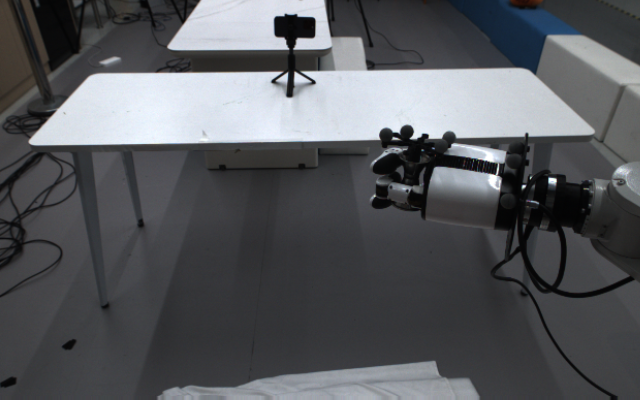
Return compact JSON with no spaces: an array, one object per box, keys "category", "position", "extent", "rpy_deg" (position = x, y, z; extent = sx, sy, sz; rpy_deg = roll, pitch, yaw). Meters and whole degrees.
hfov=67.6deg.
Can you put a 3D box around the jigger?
[{"category":"jigger","position":[0.123,-0.026,0.640],"extent":[0.043,0.071,0.043],"rpy_deg":[3,25,-1]}]
